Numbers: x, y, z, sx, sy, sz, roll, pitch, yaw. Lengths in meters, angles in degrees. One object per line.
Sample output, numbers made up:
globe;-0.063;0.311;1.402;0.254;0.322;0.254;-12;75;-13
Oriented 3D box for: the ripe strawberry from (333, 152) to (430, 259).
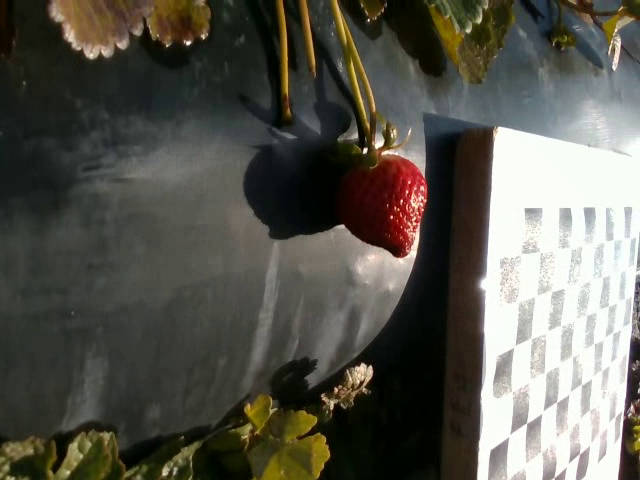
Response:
ripe strawberry;0.025;-0.011;0.224;0.036;0.044;0.040;-10;14;45
